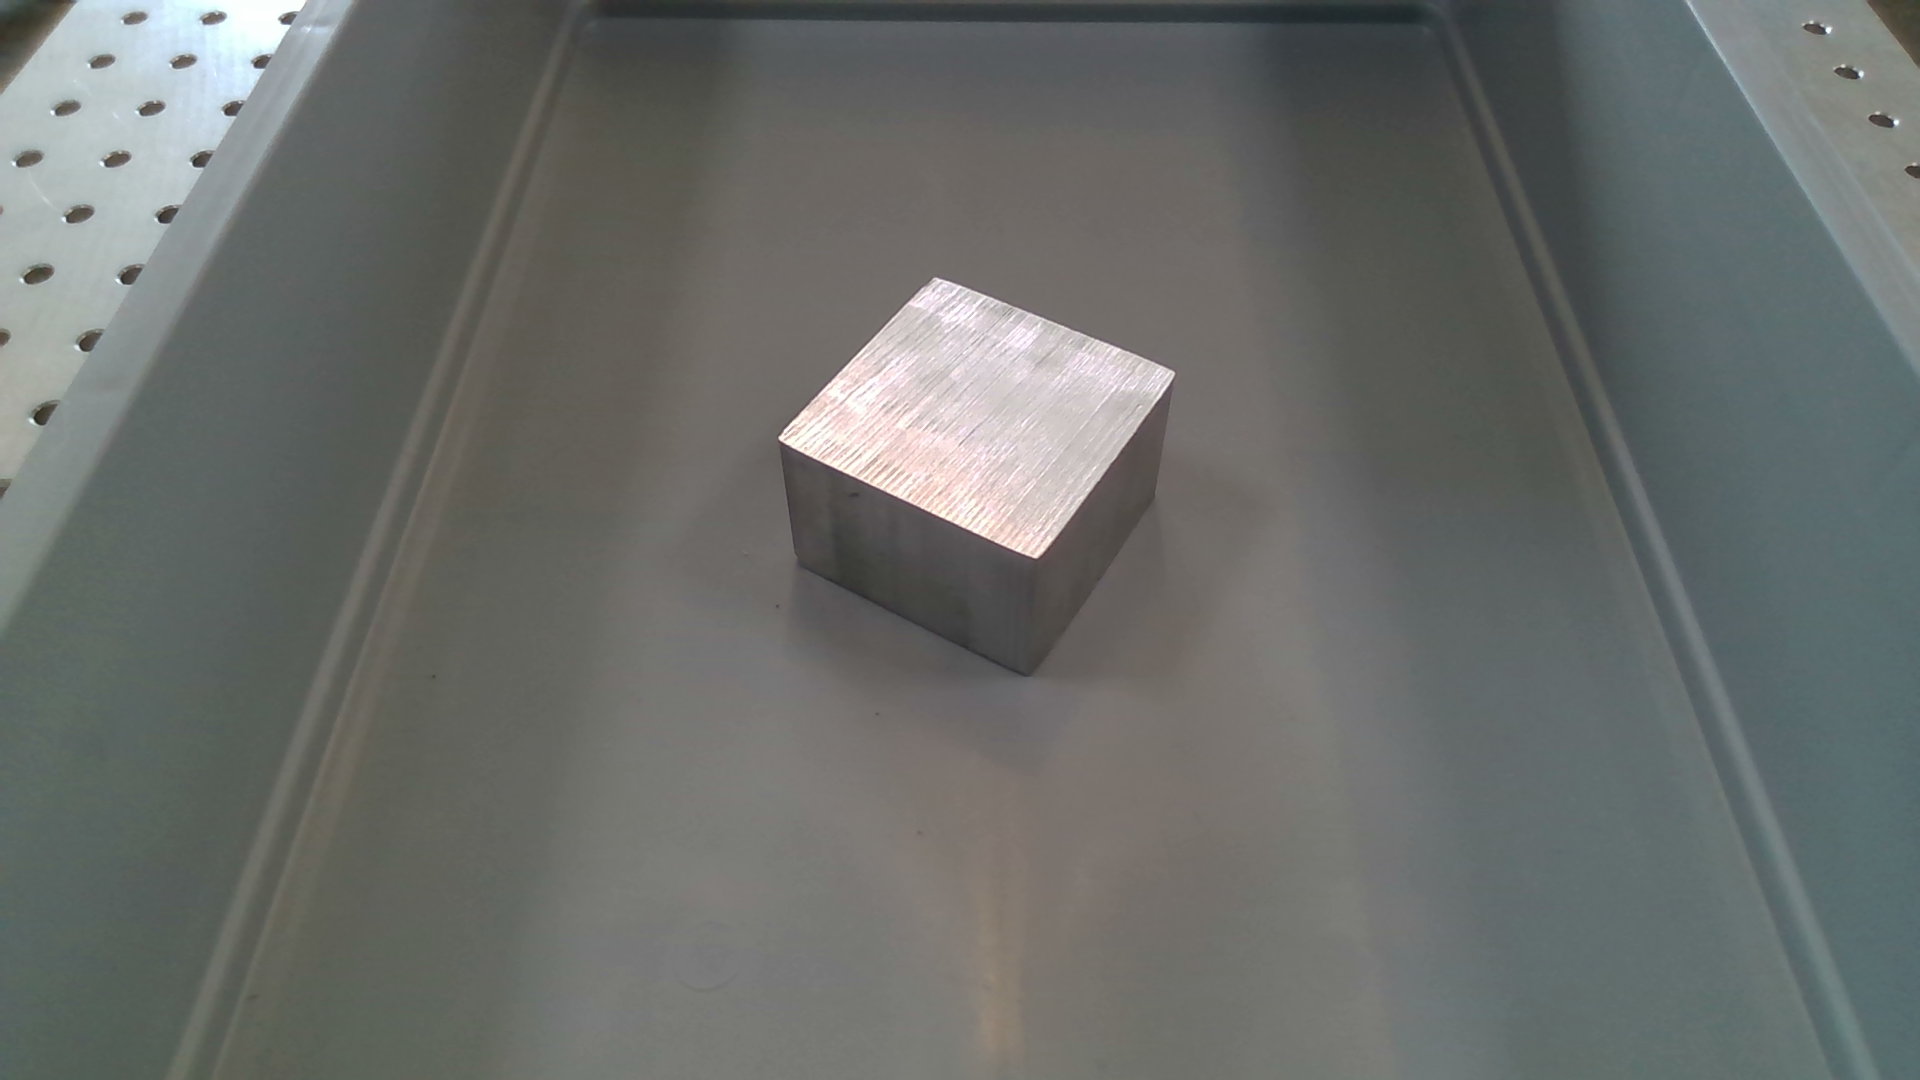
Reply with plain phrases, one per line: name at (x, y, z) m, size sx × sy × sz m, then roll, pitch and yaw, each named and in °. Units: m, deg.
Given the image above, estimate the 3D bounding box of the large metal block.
large metal block at (0.006, -0.021, 0.391) m, size 0.080 × 0.050 × 0.080 m, roll 25°, pitch 55°, yaw 19°
